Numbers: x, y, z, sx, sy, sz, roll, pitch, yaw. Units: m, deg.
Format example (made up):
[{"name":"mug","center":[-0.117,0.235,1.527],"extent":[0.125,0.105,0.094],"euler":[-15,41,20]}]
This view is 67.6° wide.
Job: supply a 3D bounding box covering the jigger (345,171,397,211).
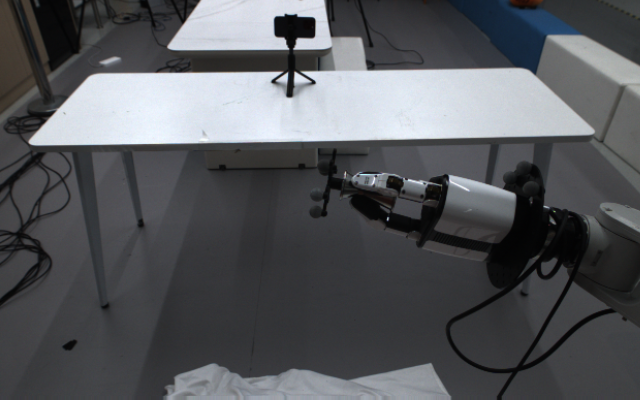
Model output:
[{"name":"jigger","center":[0.069,-0.017,0.612],"extent":[0.071,0.043,0.043],"euler":[11,35,3]}]
